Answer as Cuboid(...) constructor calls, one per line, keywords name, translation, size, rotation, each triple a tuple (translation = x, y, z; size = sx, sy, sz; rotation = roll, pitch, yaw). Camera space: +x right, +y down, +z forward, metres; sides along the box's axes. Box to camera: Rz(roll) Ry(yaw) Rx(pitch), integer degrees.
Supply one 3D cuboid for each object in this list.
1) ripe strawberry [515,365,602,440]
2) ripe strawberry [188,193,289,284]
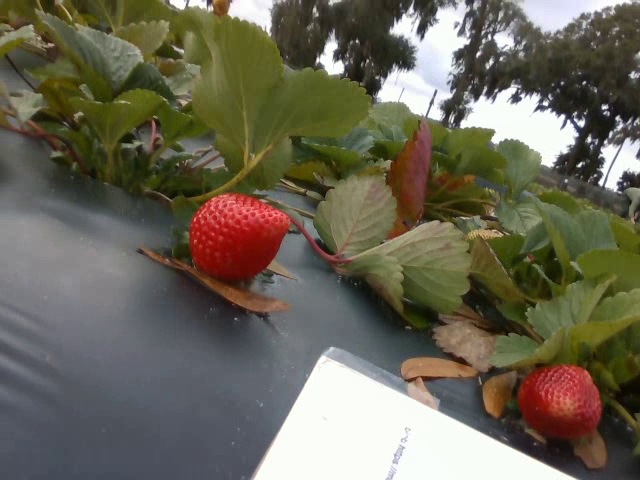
Cuboid(name="ripe strawberry", translation=(0.102, 0.067, 0.251), size=(0.040, 0.037, 0.042), rotation=(35, 3, 15))
Cuboid(name="ripe strawberry", translation=(-0.033, -0.003, 0.278), size=(0.065, 0.043, 0.047), rotation=(-14, 29, 48))
